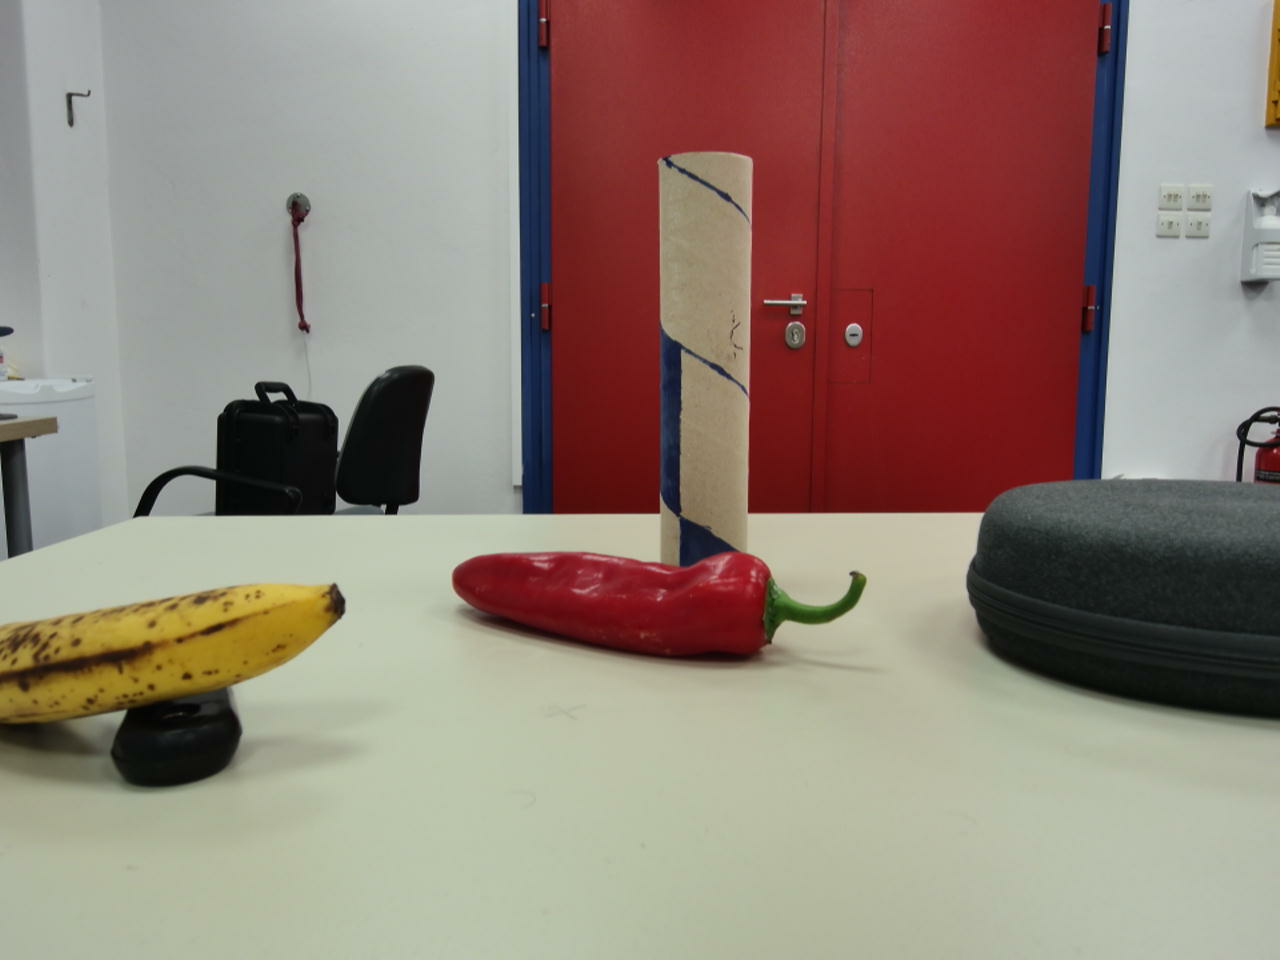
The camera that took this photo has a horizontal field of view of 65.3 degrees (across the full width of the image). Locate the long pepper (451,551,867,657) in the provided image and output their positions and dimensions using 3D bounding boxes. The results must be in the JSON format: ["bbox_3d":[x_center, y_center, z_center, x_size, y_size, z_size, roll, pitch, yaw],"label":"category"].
[{"bbox_3d":[-0.007,0.050,0.440,0.211,0.043,0.050,2,5,31],"label":"long pepper"}]
